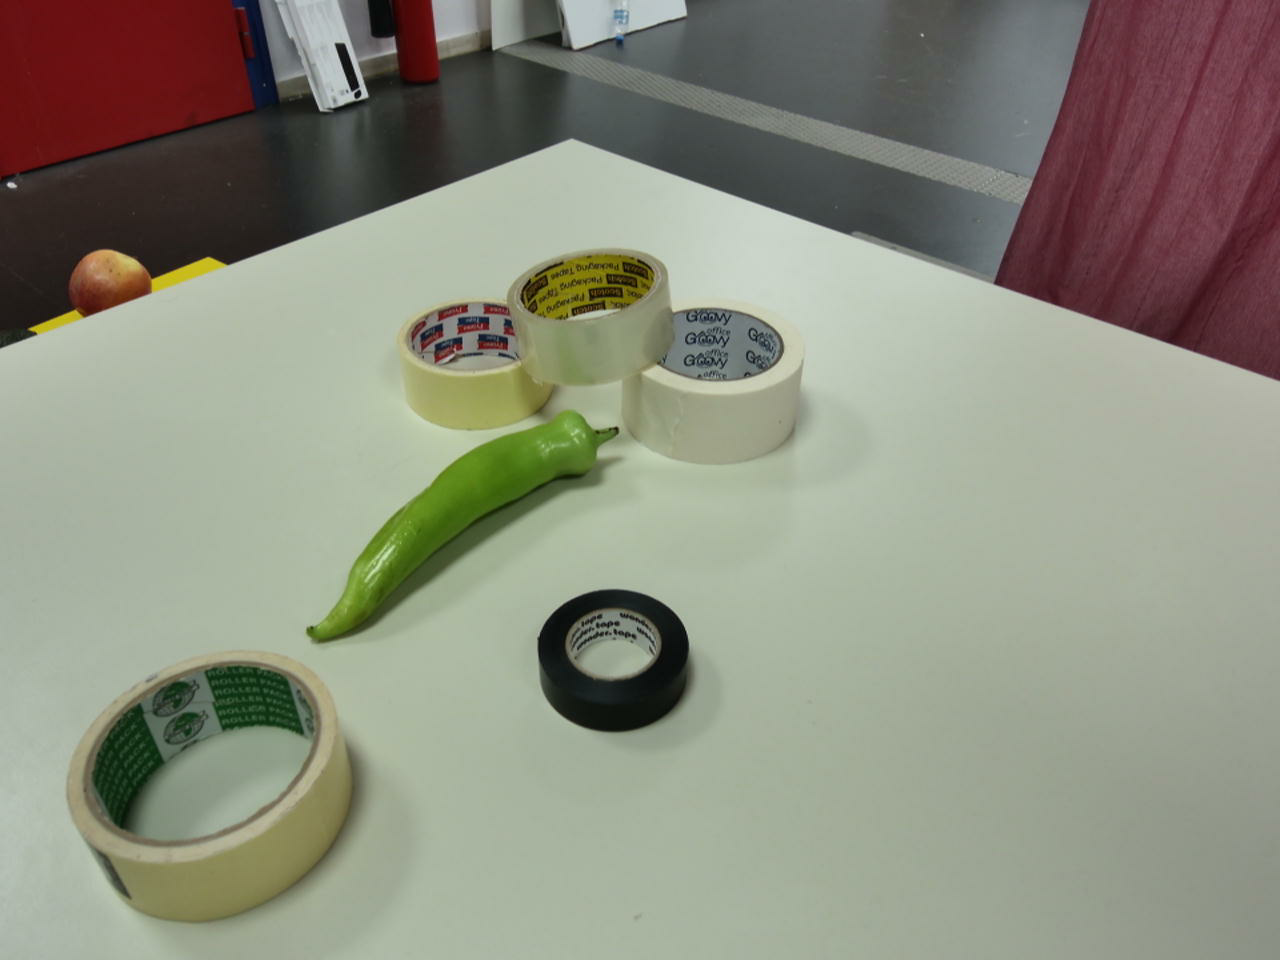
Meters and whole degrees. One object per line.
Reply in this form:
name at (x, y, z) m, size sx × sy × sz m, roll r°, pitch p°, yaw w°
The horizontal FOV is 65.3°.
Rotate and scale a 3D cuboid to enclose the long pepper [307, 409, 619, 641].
long pepper at (-0.089, 0.011, 0.501) m, size 0.047 × 0.038 × 0.197 m, roll 30°, pitch 45°, yaw 32°
